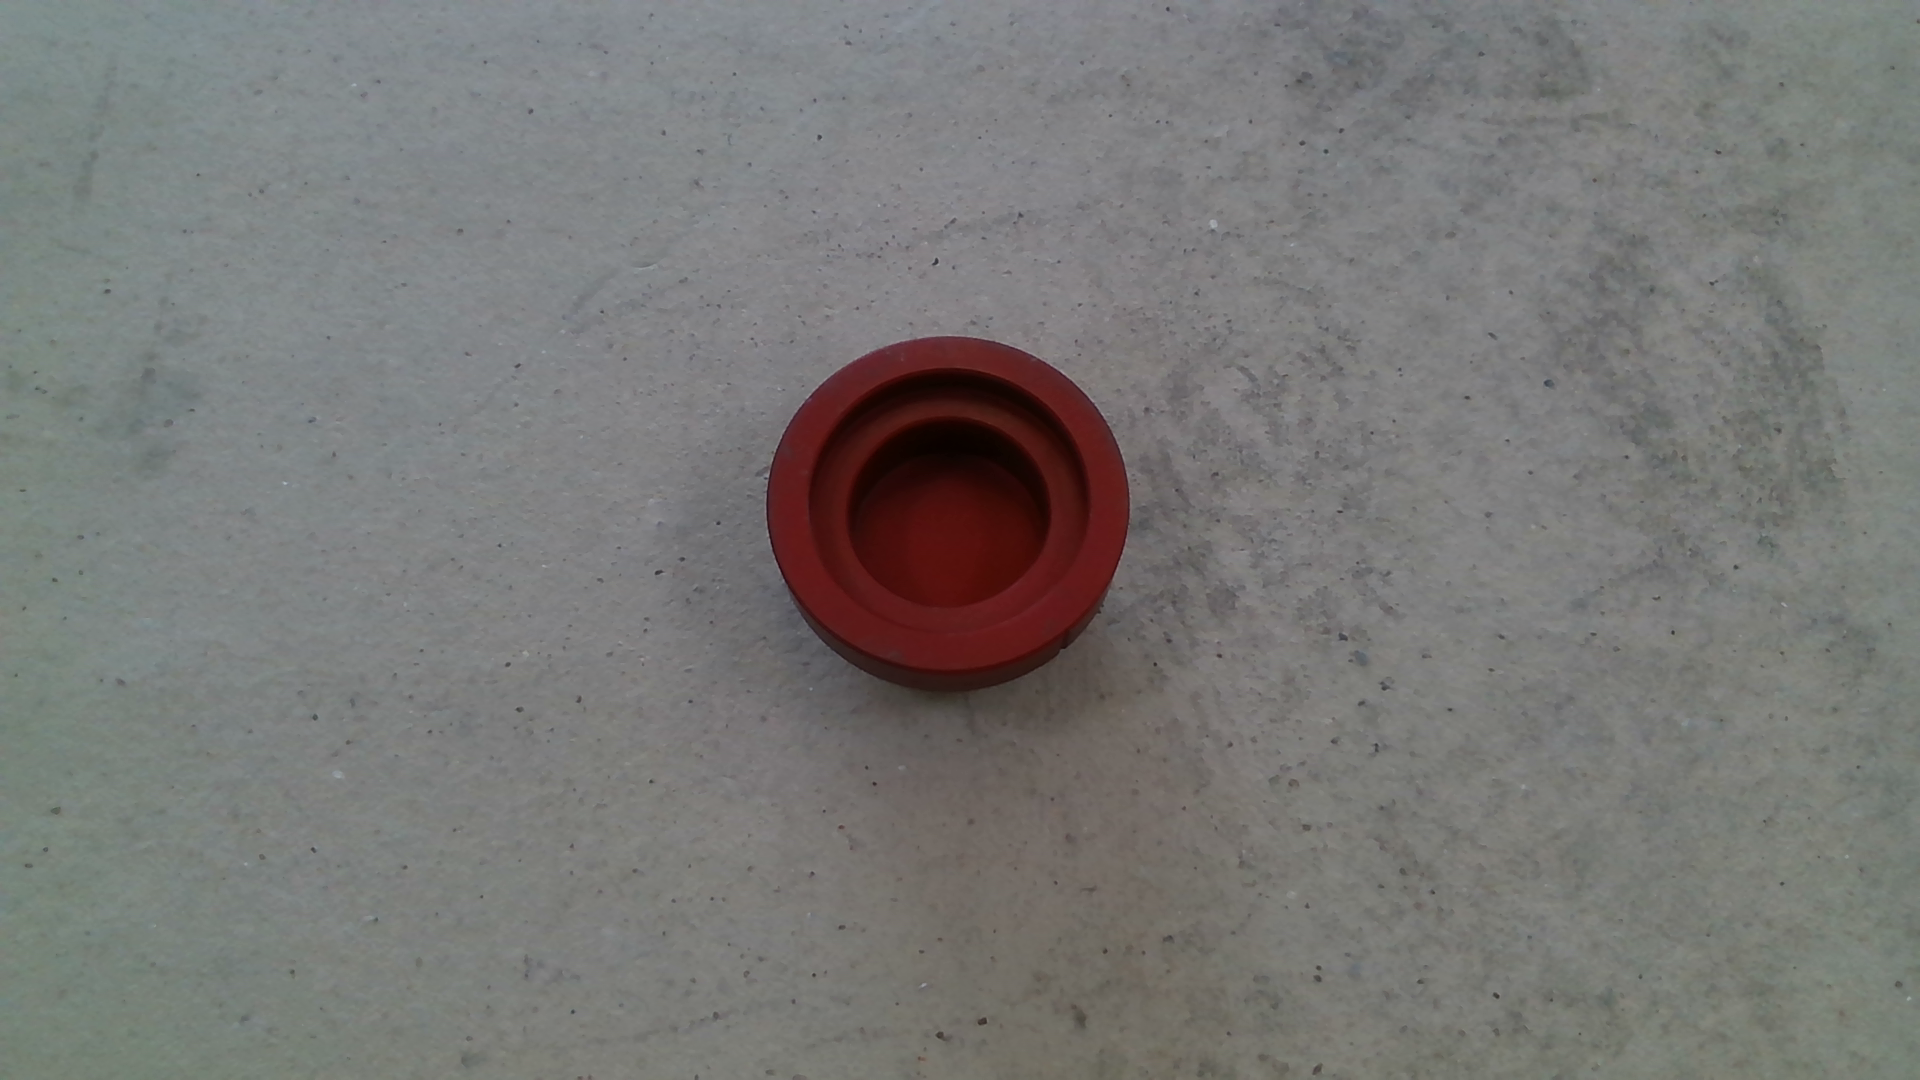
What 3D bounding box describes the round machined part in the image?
[{"bbox_3d":[-0.003,-0.004,0.388,0.098,0.042,0.098,0,70,0],"label":"round machined part"}]
